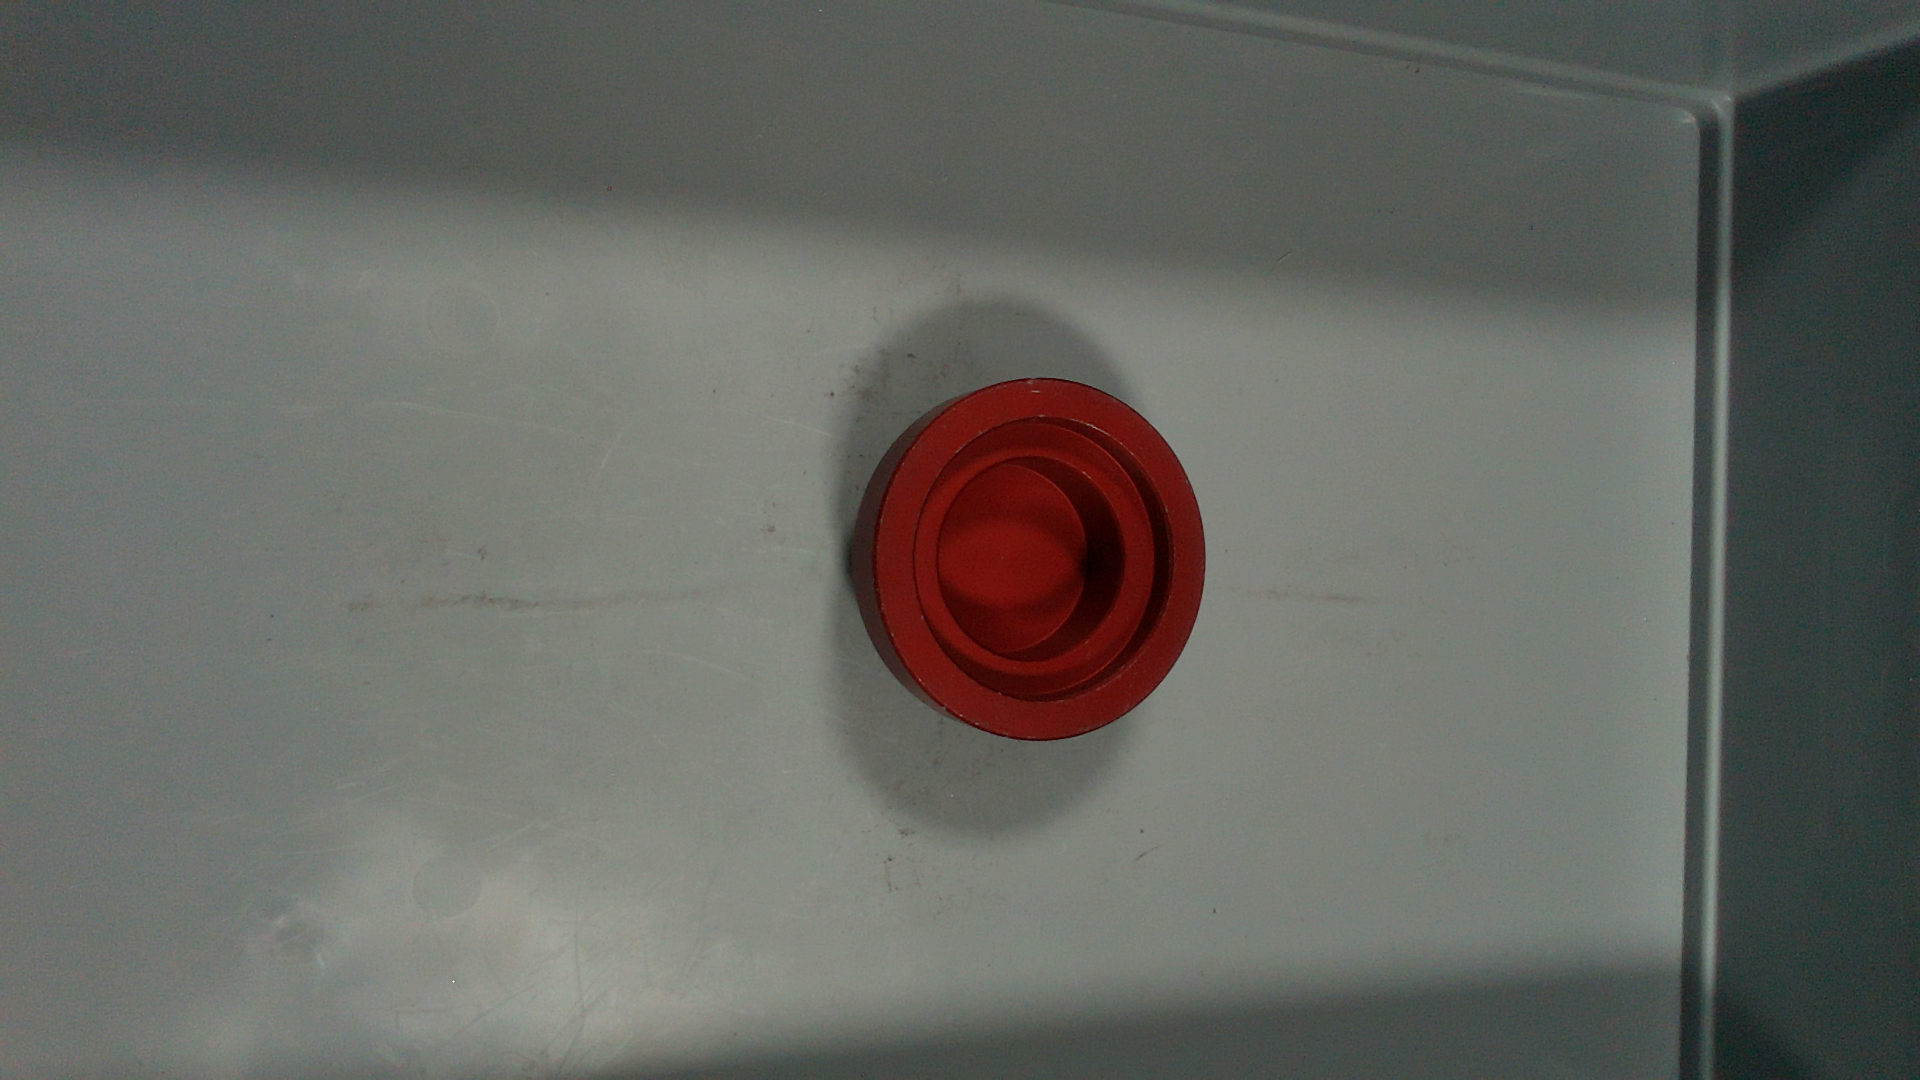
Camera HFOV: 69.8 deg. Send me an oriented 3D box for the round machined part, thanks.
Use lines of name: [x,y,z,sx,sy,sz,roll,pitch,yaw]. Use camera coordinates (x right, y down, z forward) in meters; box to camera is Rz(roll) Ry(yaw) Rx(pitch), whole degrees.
round machined part: [0.017,0.005,0.387,0.098,0.042,0.098,0,90,-20]
